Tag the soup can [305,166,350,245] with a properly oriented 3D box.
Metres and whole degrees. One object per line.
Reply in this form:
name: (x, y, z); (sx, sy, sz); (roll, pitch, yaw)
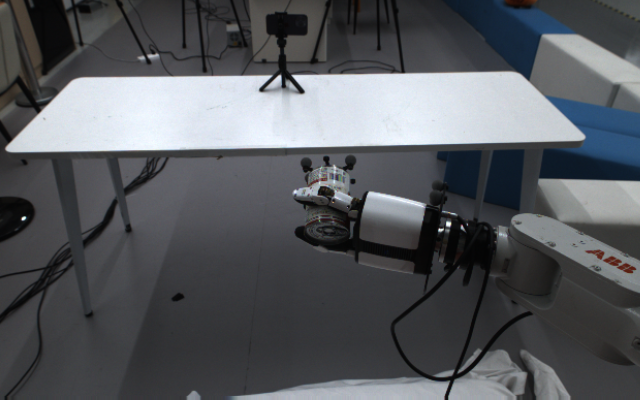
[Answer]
soup can: (0.012, 0.007, 0.719); (0.067, 0.067, 0.101); (3, 58, 1)
